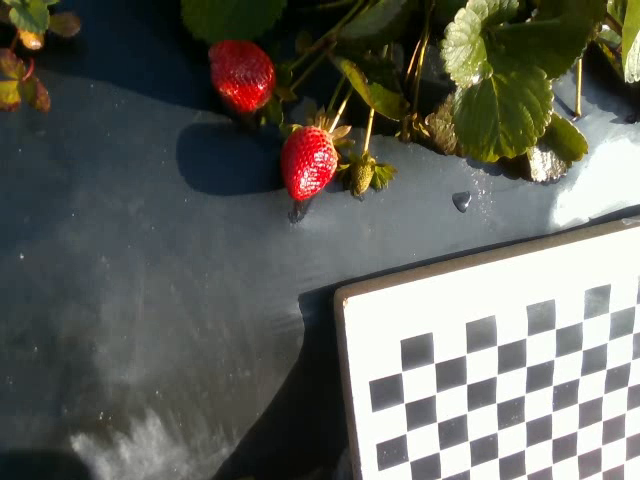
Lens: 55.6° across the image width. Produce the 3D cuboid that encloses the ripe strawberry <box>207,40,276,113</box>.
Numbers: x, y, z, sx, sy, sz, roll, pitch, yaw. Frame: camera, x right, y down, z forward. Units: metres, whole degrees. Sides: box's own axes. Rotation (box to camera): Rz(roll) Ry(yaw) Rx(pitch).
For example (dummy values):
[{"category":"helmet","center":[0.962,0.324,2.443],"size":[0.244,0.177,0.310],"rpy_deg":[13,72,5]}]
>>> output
[{"category":"ripe strawberry","center":[-0.050,-0.102,0.379],"size":[0.054,0.048,0.039],"rpy_deg":[0,14,-44]}]

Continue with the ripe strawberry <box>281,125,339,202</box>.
[{"category":"ripe strawberry","center":[-0.007,-0.047,0.370],"size":[0.043,0.053,0.039],"rpy_deg":[36,-40,-24]}]
